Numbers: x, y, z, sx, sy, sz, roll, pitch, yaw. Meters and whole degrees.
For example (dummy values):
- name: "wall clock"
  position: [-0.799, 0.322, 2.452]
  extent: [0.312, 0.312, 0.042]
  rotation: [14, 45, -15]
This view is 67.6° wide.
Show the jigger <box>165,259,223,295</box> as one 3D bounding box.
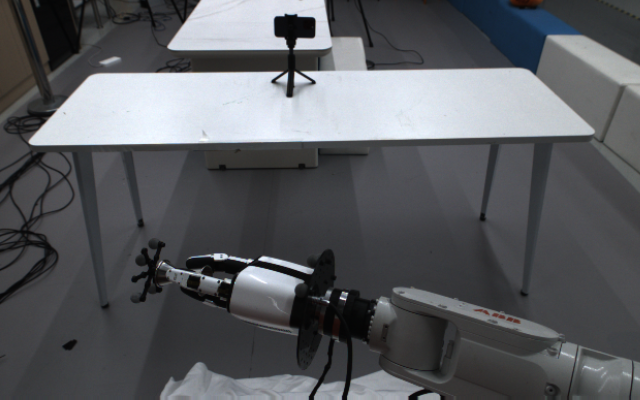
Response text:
- name: "jigger"
  position: [-0.187, 0.107, 0.687]
  extent: [0.071, 0.043, 0.043]
  rotation: [8, 35, 13]
